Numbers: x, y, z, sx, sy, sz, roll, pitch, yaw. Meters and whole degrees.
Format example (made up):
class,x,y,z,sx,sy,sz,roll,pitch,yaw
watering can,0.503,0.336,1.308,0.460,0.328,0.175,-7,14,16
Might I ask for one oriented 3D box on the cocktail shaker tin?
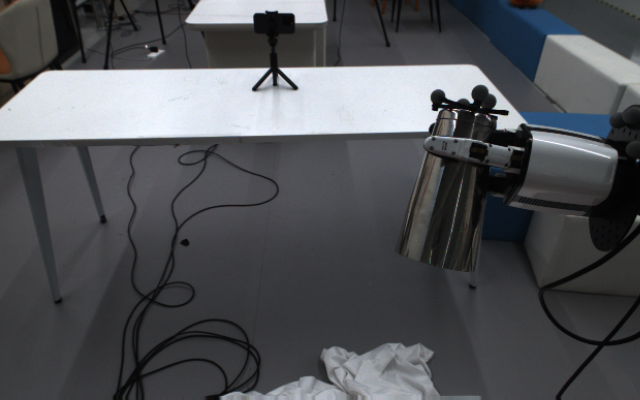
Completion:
class,x,y,z,sx,sy,sz,roll,pitch,yaw
cocktail shaker tin,0.152,-0.016,0.560,0.093,0.170,0.093,12,3,-1
